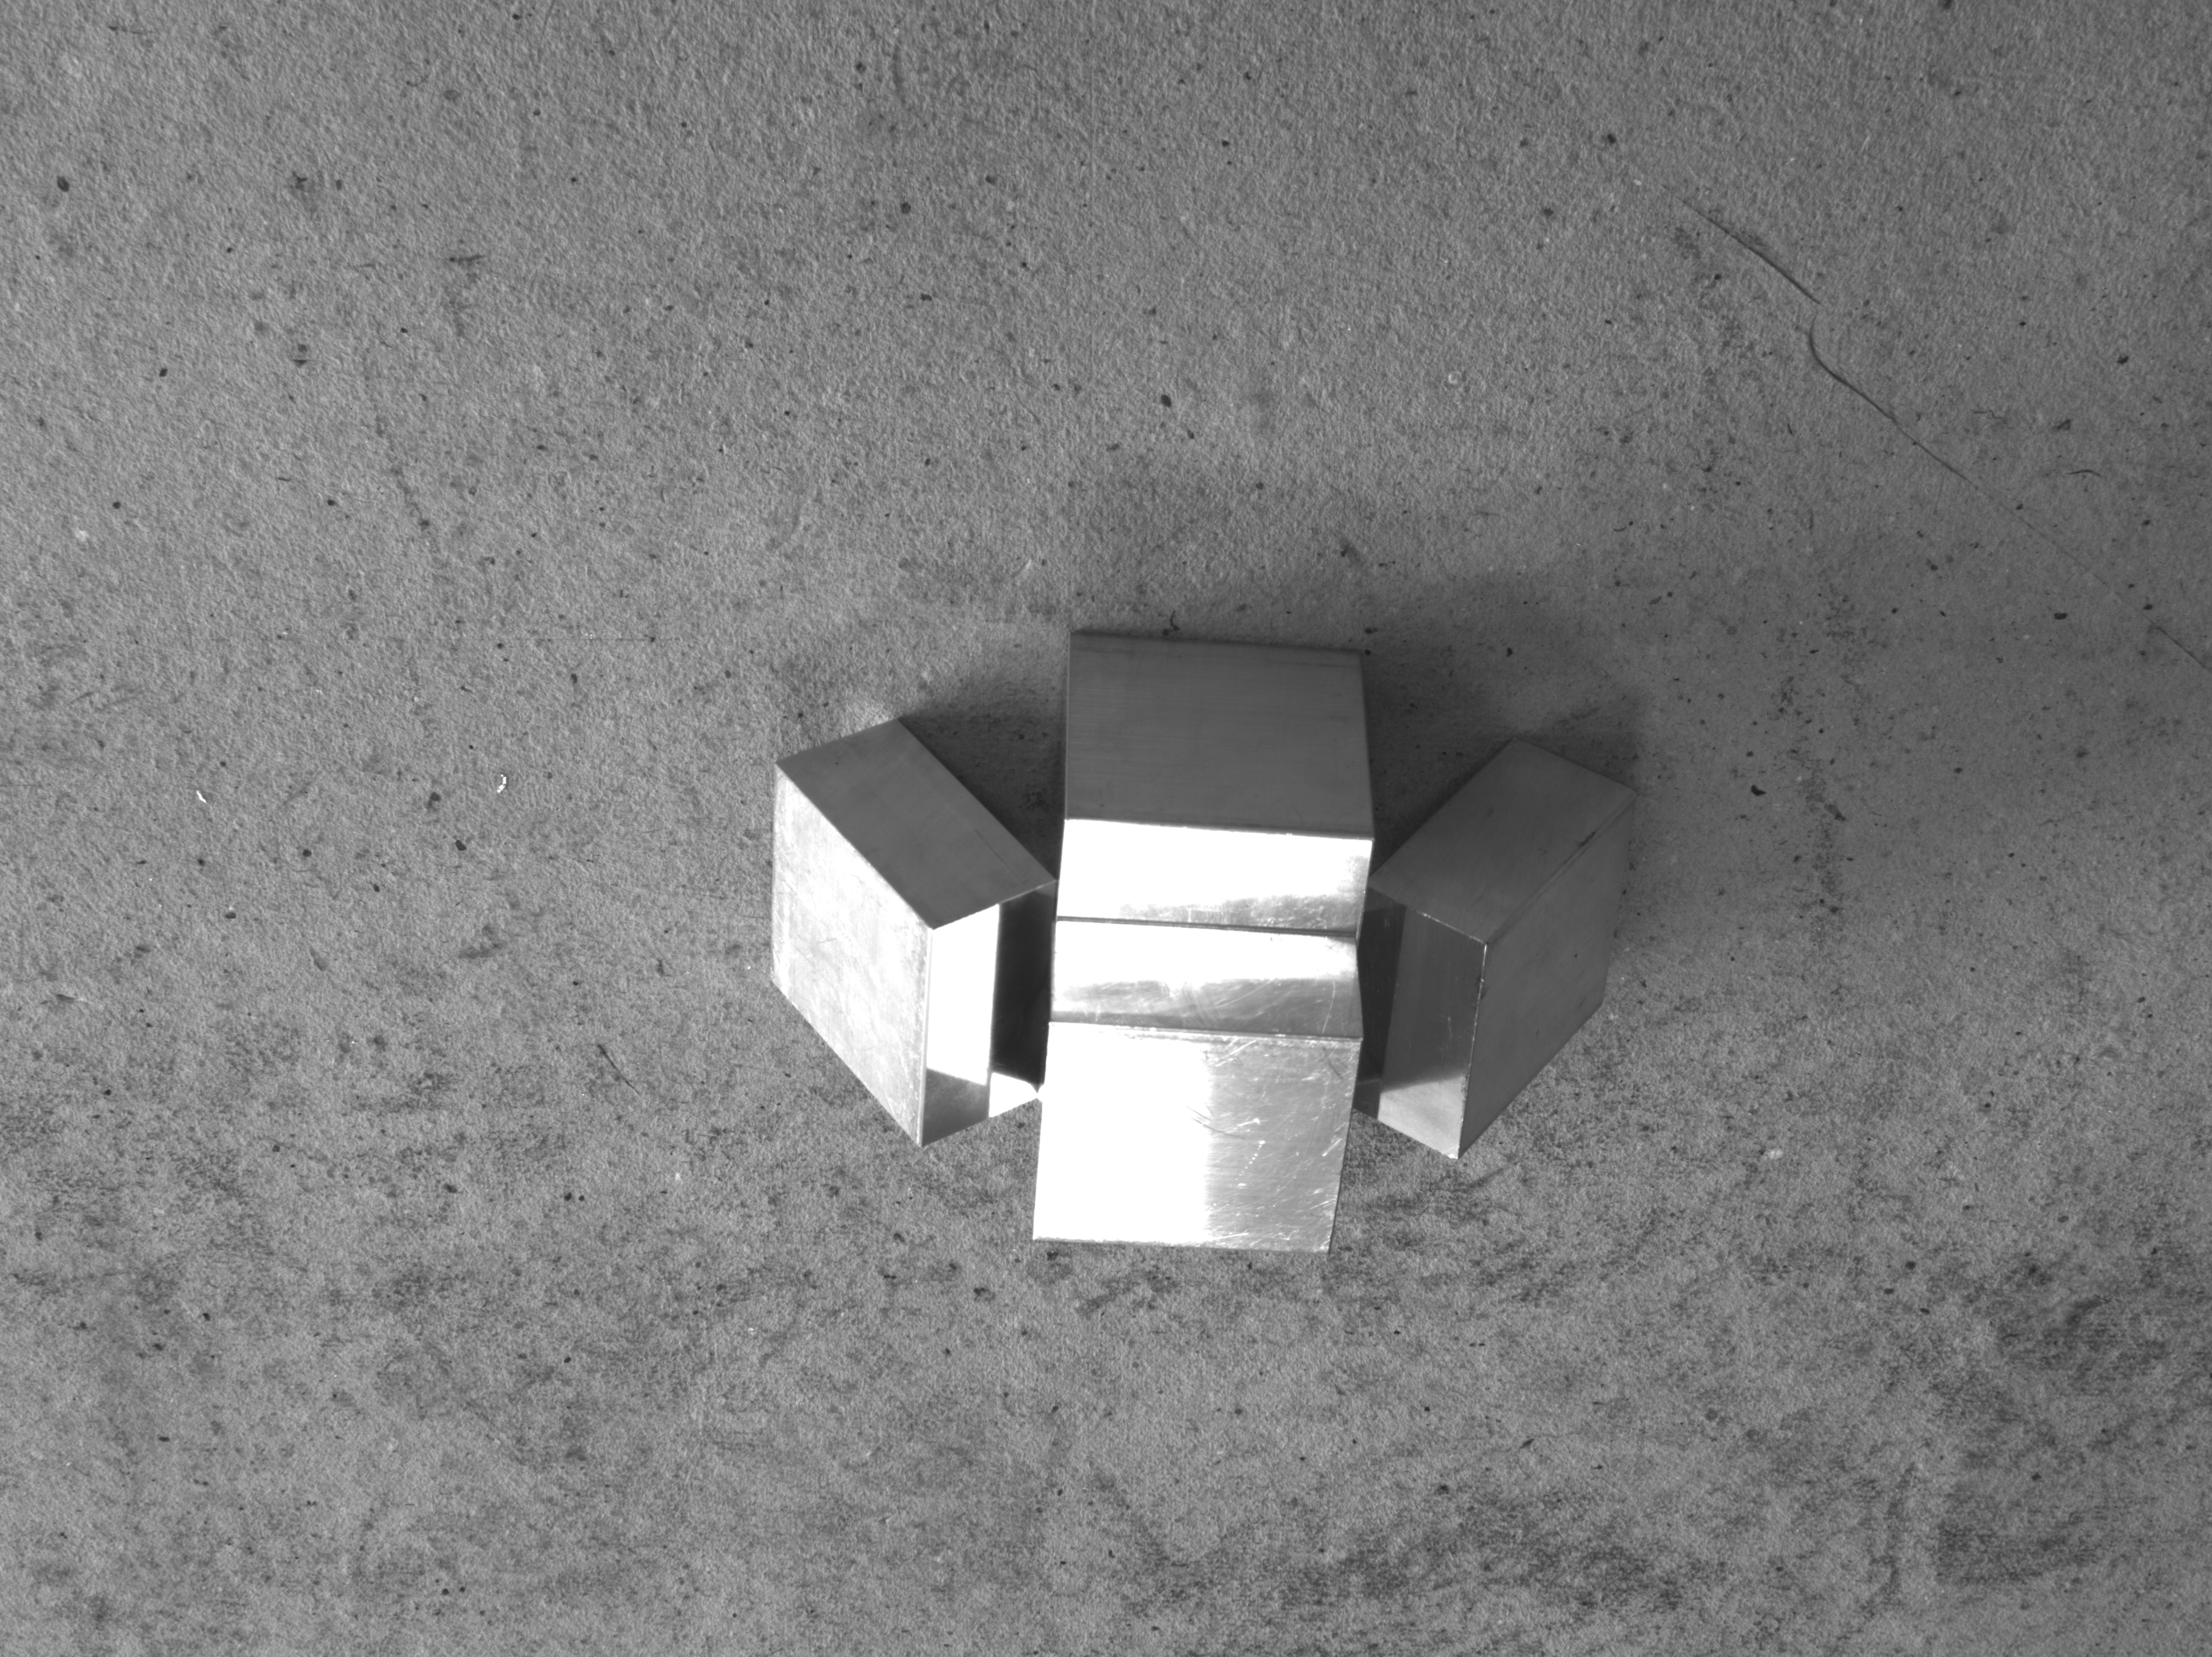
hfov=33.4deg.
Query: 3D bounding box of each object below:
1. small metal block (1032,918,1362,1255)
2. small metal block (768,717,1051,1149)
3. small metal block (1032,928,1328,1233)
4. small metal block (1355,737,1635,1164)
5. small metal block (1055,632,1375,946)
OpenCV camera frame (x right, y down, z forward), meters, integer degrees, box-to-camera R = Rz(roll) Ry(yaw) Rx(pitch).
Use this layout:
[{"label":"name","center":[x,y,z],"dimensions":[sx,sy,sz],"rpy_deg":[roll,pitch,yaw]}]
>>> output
[{"label":"small metal block","center":[0.014,0.043,0.611],"dimensions":[0.050,0.025,0.050],"rpy_deg":[3,130,-2]},{"label":"small metal block","center":[-0.034,0.018,0.635],"dimensions":[0.025,0.050,0.050],"rpy_deg":[-22,137,-29]},{"label":"small metal block","center":[0.013,0.045,0.661],"dimensions":[0.050,0.050,0.025],"rpy_deg":[2,130,-2]},{"label":"small metal block","center":[0.065,0.021,0.638],"dimensions":[0.025,0.050,0.050],"rpy_deg":[26,135,25]},{"label":"small metal block","center":[0.017,-0.006,0.618],"dimensions":[0.050,0.050,0.025],"rpy_deg":[4,130,-3]}]
